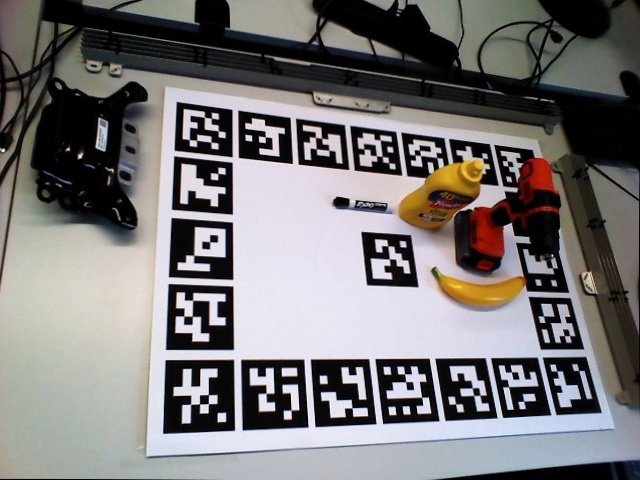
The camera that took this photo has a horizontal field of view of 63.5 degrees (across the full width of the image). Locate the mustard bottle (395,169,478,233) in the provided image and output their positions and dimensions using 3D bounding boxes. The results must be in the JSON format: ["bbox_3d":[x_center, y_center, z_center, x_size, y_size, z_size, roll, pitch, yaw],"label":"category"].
[{"bbox_3d":[0.216,-0.074,0.920,0.096,0.193,0.058,16,65,-14],"label":"mustard bottle"}]

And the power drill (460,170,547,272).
[{"bbox_3d":[0.324,-0.011,0.914,0.057,0.188,0.183,18,62,-14],"label":"power drill"}]

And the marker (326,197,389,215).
[{"bbox_3d":[0.069,-0.063,0.962,0.121,0.020,0.019,7,69,-17],"label":"marker"}]

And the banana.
[{"bbox_3d":[0.287,0.103,0.965,0.197,0.039,0.074,12,68,-13],"label":"banana"}]
